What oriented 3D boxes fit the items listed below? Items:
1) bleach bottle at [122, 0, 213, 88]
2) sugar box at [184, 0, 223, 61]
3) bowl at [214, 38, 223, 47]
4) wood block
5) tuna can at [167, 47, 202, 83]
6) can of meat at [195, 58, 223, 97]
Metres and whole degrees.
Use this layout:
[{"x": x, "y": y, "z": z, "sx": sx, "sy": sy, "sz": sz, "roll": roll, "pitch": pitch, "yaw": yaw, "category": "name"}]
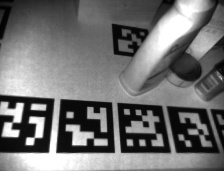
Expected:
[{"x": 0.099, "y": -0.092, "z": 0.400, "sx": 0.103, "sy": 0.250, "sz": 0.067, "roll": -17, "pitch": 65, "yaw": -24, "category": "bleach bottle"}, {"x": 0.211, "y": -0.134, "z": 0.499, "sx": 0.093, "sy": 0.176, "sz": 0.045, "roll": 23, "pitch": 59, "yaw": 2, "category": "sugar box"}, {"x": 0.274, "y": -0.164, "z": 0.611, "sx": 0.162, "sy": 0.055, "sz": 0.161, "roll": 6, "pitch": 59, "yaw": -9, "category": "bowl"}, {"x": 0.026, "y": -0.242, "z": 0.563, "sx": 0.208, "sy": 0.089, "sz": 0.090, "roll": -1, "pitch": 65, "yaw": -18, "category": "wood block"}, {"x": 0.172, "y": -0.049, "z": 0.522, "sx": 0.086, "sy": 0.033, "sz": 0.085, "roll": 7, "pitch": 62, "yaw": -12, "category": "tuna can"}, {"x": 0.259, "y": -0.025, "z": 0.514, "sx": 0.103, "sy": 0.083, "sz": 0.057, "roll": -21, "pitch": 65, "yaw": -28, "category": "can of meat"}]
